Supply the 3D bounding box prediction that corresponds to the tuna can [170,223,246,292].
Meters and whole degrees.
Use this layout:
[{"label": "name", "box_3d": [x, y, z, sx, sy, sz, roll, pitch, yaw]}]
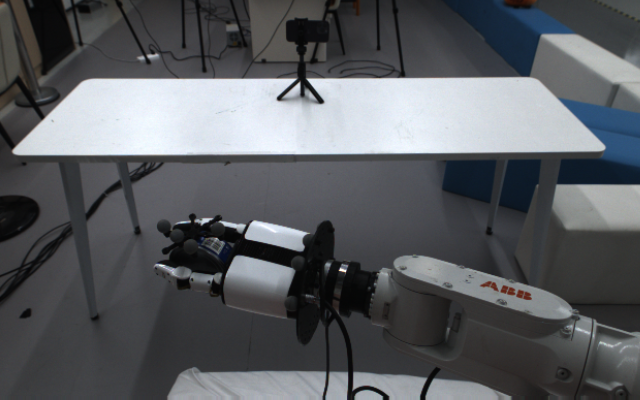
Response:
[{"label": "tuna can", "box_3d": [-0.152, 0.084, 0.644, 0.085, 0.085, 0.034, 11, 38, 12]}]
